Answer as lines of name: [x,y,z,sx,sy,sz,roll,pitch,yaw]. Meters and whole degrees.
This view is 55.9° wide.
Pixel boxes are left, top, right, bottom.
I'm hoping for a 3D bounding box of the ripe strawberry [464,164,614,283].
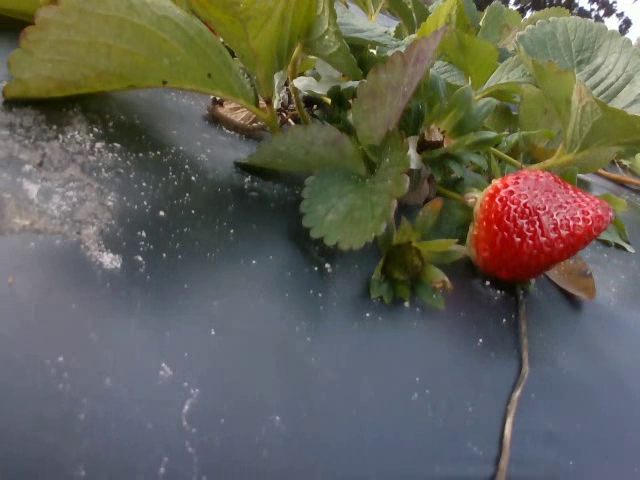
ripe strawberry: [0.082,-0.005,0.222,0.050,0.049,0.053,11,-2,-25]
